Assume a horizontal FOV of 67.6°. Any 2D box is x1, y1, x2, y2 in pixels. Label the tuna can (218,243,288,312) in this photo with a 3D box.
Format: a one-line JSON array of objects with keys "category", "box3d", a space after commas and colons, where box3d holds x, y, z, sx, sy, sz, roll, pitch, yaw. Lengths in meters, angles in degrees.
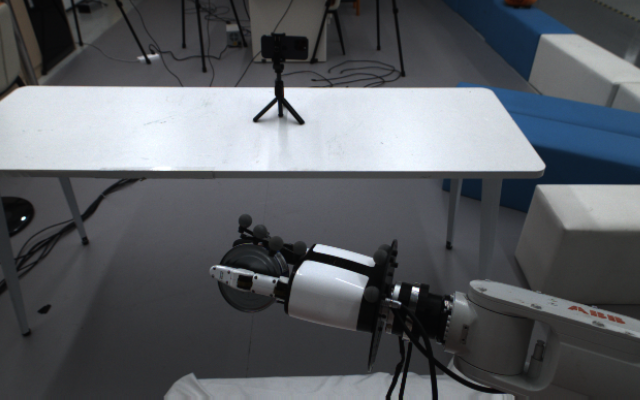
[{"category": "tuna can", "box3d": [-0.081, 0.094, 0.607, 0.085, 0.085, 0.034, 13, 2, 16]}]
